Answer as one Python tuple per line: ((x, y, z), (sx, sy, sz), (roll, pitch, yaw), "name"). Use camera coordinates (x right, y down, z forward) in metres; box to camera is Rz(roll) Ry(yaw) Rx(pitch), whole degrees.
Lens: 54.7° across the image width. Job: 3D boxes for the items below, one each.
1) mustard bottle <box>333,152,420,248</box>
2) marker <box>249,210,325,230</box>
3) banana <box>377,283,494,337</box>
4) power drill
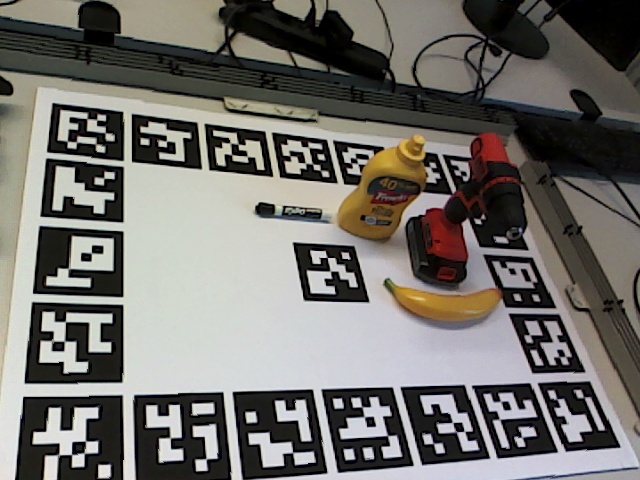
((0.096, -0.064, 0.936), (0.096, 0.191, 0.058), (14, 50, -15), "mustard bottle")
((-0.051, -0.031, 0.961), (0.120, 0.019, 0.020), (6, 54, -20), "marker")
((0.182, 0.112, 0.944), (0.196, 0.039, 0.074), (10, 53, -14), "banana")
((0.210, -0.013, 0.925), (0.057, 0.187, 0.185), (16, 47, -14), "power drill")
